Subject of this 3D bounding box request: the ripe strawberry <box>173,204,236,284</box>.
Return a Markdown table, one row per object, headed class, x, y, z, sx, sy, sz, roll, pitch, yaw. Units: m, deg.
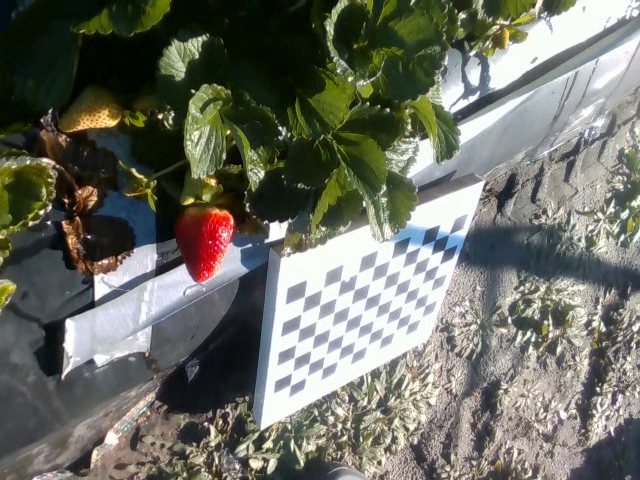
| class | x | y | z | sx | sy | sz | roll | pitch | yaw |
| --- | --- | --- | --- | --- | --- | --- | --- | --- | --- |
| ripe strawberry | -0.098 | 0.008 | 0.540 | 0.058 | 0.065 | 0.061 | -10 | -14 | 34 |
